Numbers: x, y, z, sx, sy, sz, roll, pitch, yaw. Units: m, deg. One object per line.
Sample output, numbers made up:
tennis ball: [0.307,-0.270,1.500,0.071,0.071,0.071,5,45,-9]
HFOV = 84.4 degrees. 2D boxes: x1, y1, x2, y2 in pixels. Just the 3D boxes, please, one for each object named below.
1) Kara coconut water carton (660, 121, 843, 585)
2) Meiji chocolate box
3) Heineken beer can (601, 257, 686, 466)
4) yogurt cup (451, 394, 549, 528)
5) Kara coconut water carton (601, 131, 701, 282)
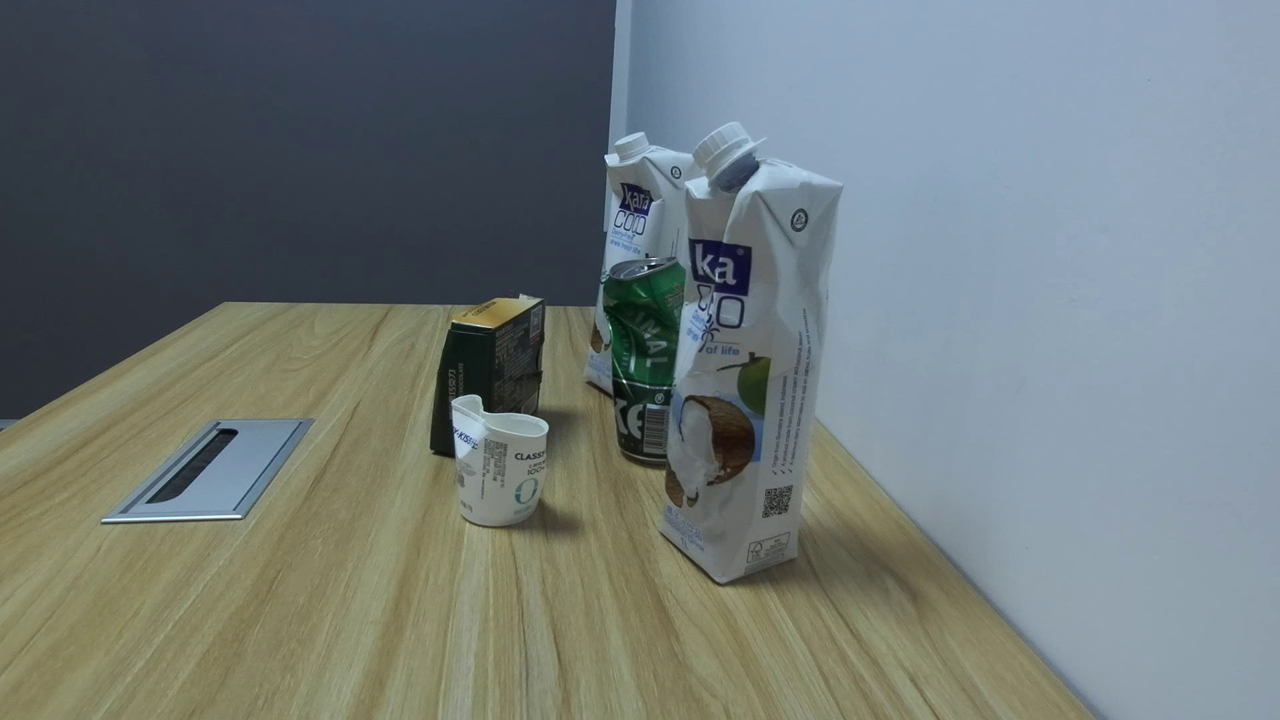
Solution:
Kara coconut water carton: [0.059,-0.002,0.410,0.078,0.255,0.083,-5,21,-18]
Meiji chocolate box: [-0.123,0.008,0.581,0.058,0.110,0.113,9,19,11]
Heineken beer can: [0.015,0.001,0.558,0.079,0.159,0.067,-7,13,-6]
yogurt cup: [-0.094,0.066,0.472,0.075,0.071,0.054,8,20,11]
Kara coconut water carton: [0.003,-0.087,0.671,0.099,0.244,0.071,21,28,39]
